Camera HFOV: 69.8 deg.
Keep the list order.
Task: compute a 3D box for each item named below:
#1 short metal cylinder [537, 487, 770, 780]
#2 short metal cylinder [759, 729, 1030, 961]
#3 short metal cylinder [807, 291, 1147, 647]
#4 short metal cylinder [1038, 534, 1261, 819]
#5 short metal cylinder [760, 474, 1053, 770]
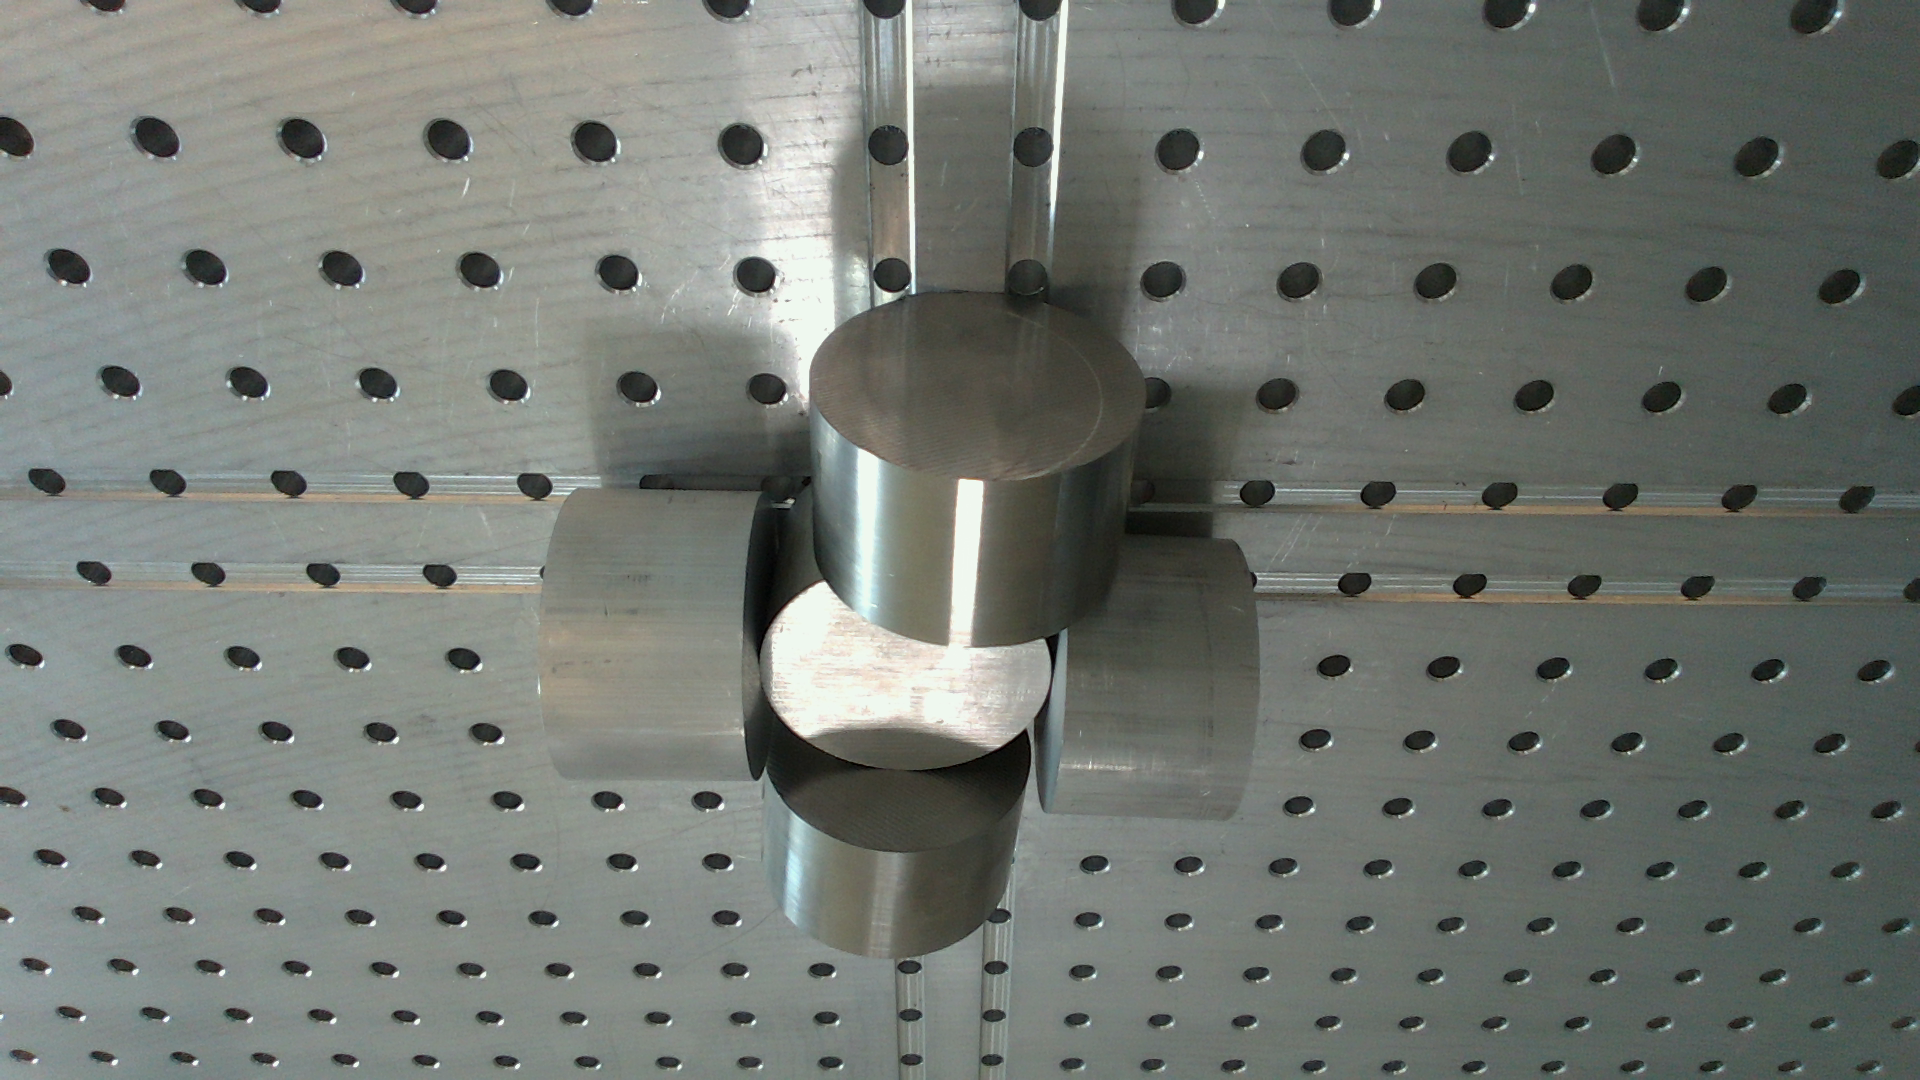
[{"bbox_3d":[-0.080,0.026,0.379,0.050,0.080,0.080,1,130,-2],"label":"short metal cylinder"},{"bbox_3d":[-0.022,0.081,0.424,0.080,0.080,0.050,5,130,-4],"label":"short metal cylinder"},{"bbox_3d":[0.003,-0.019,0.341,0.080,0.080,0.050,2,130,-2],"label":"short metal cylinder"},{"bbox_3d":[0.050,0.038,0.391,0.050,0.080,0.080,3,130,-3],"label":"short metal cylinder"},{"bbox_3d":[-0.015,0.020,0.395,0.080,0.050,0.080,-1,130,-1],"label":"short metal cylinder"}]
